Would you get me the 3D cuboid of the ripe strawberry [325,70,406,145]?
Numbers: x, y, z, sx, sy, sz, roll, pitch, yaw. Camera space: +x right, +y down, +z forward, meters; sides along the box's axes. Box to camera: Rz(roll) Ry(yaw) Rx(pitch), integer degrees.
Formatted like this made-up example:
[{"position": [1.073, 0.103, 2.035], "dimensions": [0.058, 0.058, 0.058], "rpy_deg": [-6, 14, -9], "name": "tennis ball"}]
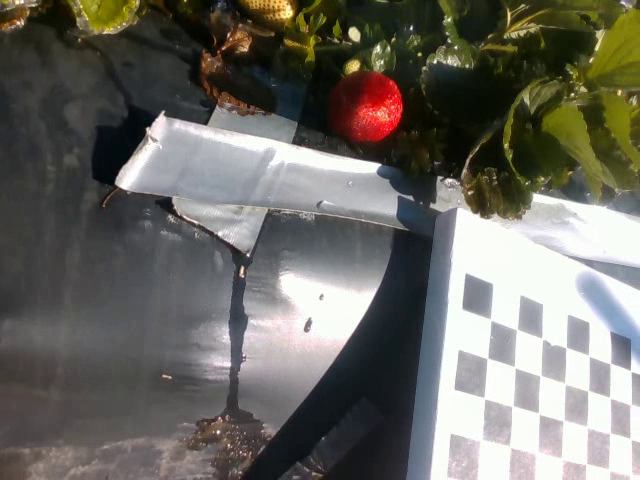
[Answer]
[{"position": [0.032, -0.081, 0.379], "dimensions": [0.057, 0.062, 0.065], "rpy_deg": [-34, 13, 14], "name": "ripe strawberry"}]
